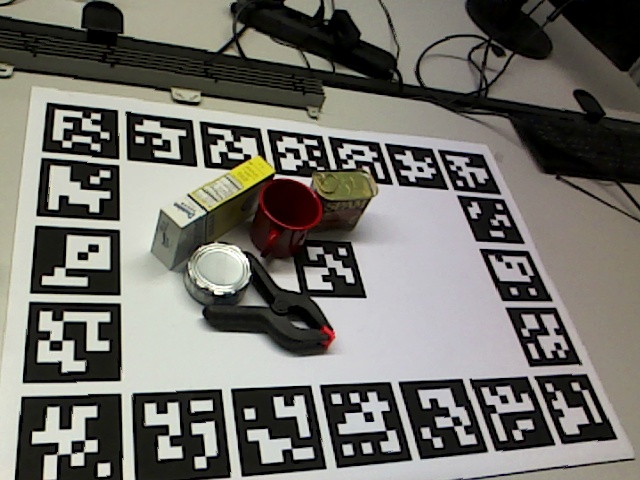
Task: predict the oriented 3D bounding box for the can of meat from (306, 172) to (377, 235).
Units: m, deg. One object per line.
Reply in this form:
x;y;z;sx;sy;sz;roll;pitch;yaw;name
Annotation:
0.022;-0.054;0.939;0.101;0.084;0.058;-4;55;-29;can of meat

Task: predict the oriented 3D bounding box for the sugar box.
-0.146;-0.036;0.842;0.045;0.093;0.176;41;47;12;sugar box

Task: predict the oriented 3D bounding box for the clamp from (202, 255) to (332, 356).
-0.059;0.100;0.812;0.165;0.036;0.122;33;43;-3;clamp

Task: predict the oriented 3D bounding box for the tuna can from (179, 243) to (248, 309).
-0.140;0.049;0.810;0.085;0.034;0.086;12;52;-16;tuna can

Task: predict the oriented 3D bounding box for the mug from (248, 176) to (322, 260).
-0.057;-0.021;0.867;0.093;0.081;0.117;23;50;-7;mug
